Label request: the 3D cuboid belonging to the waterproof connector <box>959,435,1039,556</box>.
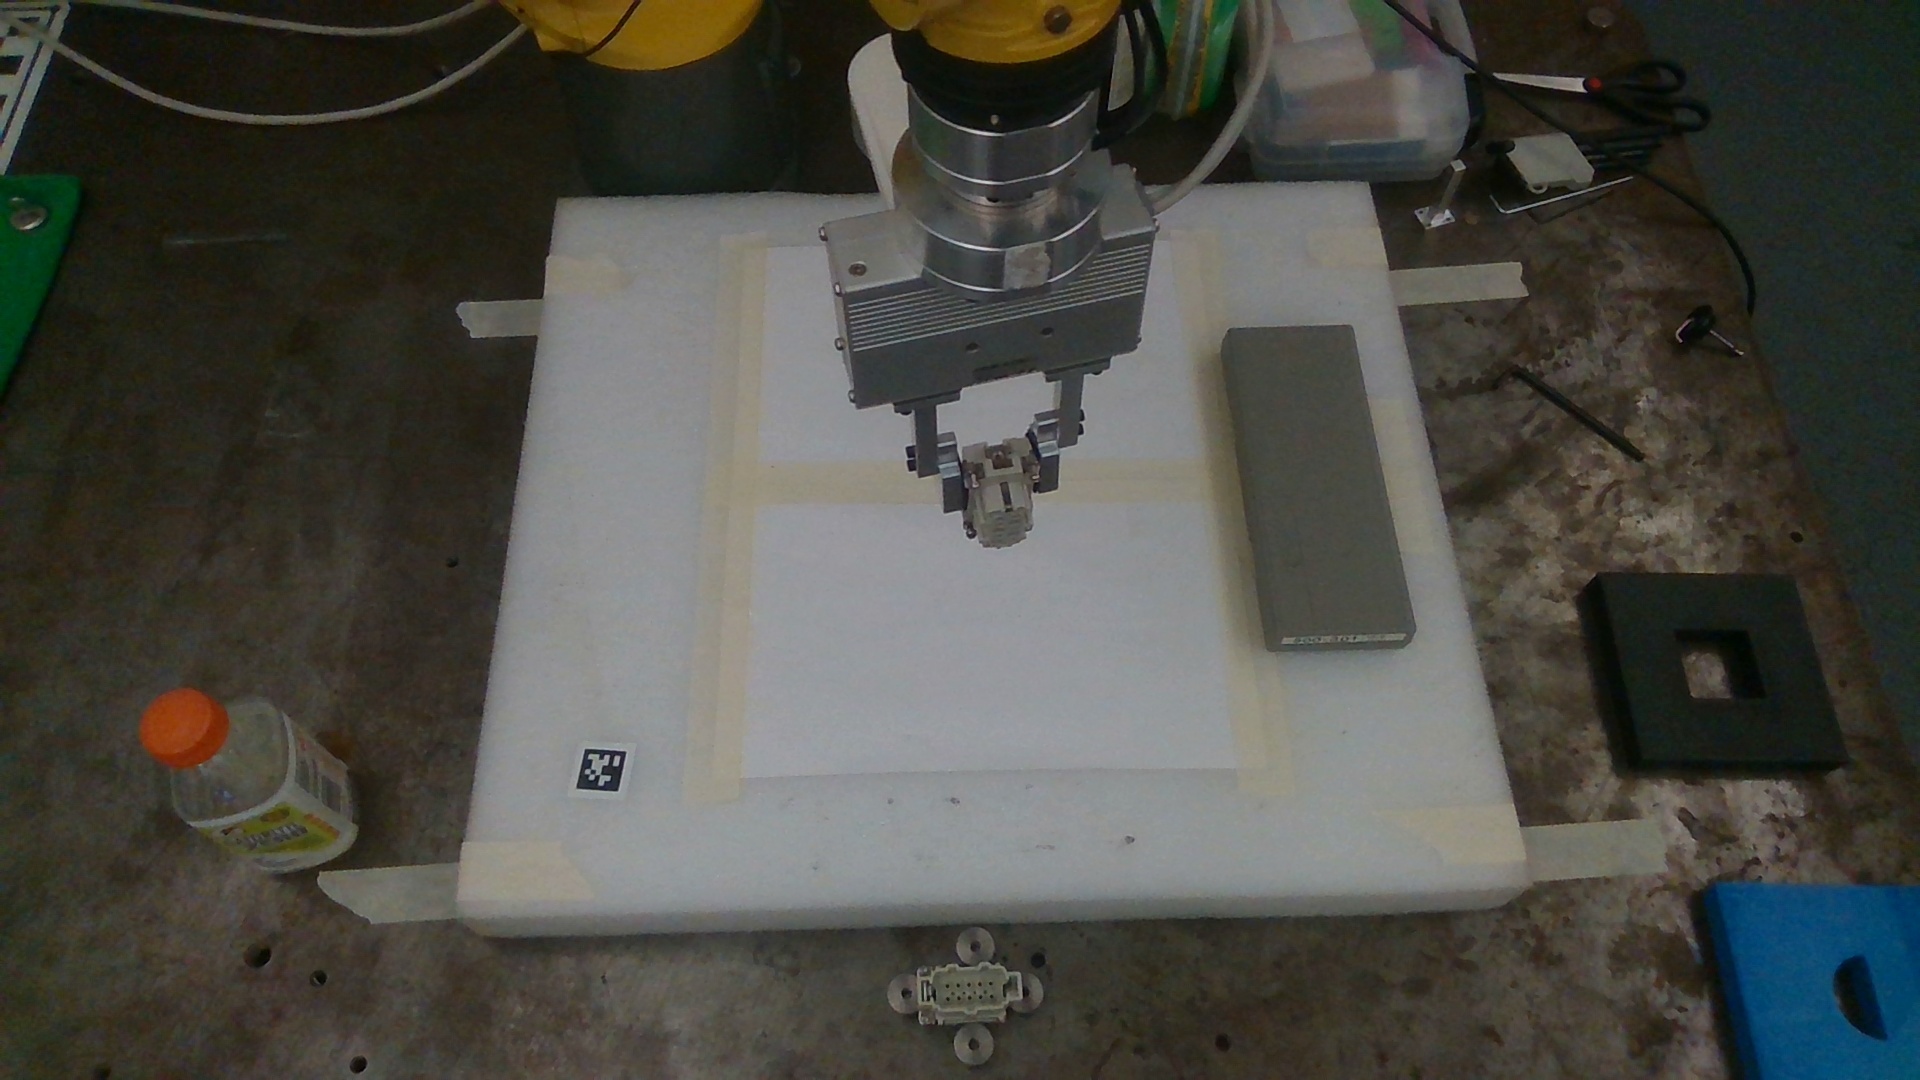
[{"bbox_3d":[0.019,-0.021,0.665,0.037,0.069,0.038,-8,59,-4],"label":"waterproof connector"}]
